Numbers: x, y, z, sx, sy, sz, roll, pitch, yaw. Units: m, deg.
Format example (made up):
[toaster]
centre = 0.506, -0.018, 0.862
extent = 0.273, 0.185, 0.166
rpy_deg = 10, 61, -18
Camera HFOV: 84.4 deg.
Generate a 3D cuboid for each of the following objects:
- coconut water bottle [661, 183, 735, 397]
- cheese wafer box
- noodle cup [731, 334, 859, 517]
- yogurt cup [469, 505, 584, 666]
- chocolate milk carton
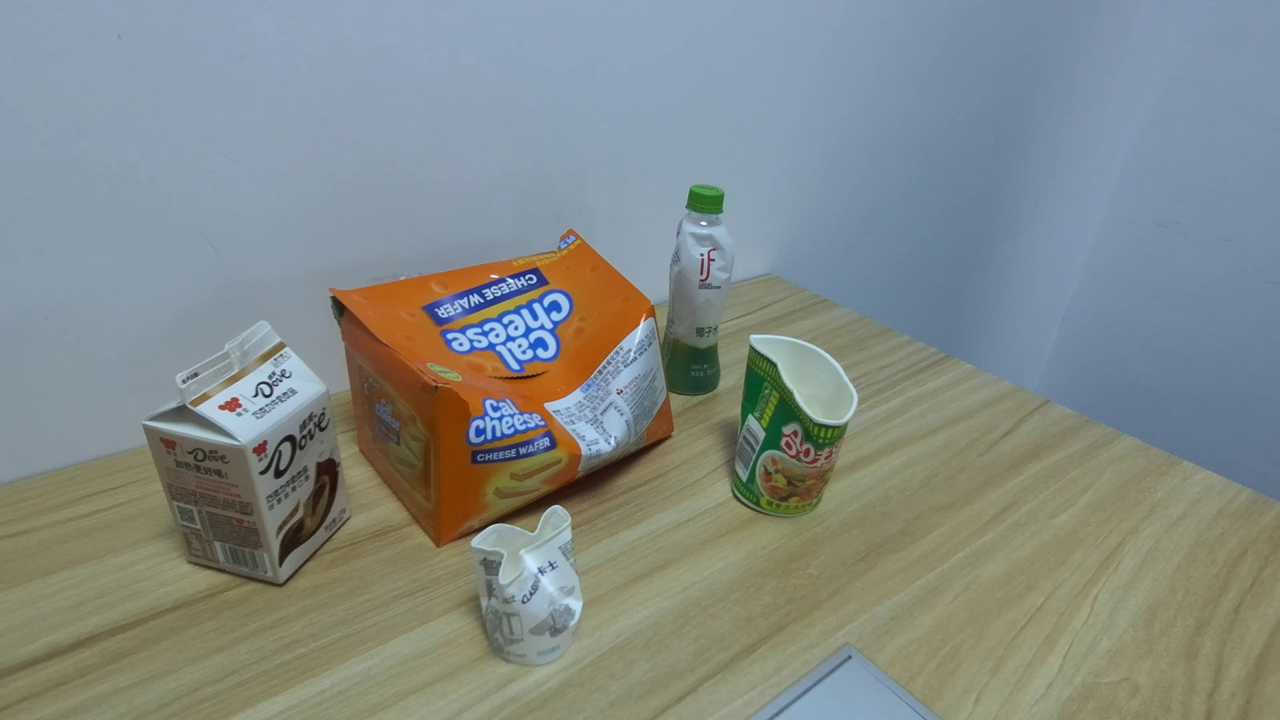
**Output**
[coconut water bottle]
centre = 0.052, -0.062, 0.642
extent = 0.067, 0.187, 0.067
rpy_deg = 3, 27, -1
[cheese wafer box]
centre = -0.088, 0.010, 0.546
extent = 0.220, 0.145, 0.190
rpy_deg = -21, 36, -36
[noodle cup]
centre = 0.108, 0.052, 0.516
extent = 0.070, 0.111, 0.115
rpy_deg = 4, 30, 5
[yogurt cup]
centre = -0.063, 0.129, 0.406
extent = 0.055, 0.072, 0.055
rpy_deg = -15, 32, -26
[chocolate milk carton]
centre = -0.242, 0.054, 0.439
extent = 0.074, 0.148, 0.075
rpy_deg = 10, 28, 12
